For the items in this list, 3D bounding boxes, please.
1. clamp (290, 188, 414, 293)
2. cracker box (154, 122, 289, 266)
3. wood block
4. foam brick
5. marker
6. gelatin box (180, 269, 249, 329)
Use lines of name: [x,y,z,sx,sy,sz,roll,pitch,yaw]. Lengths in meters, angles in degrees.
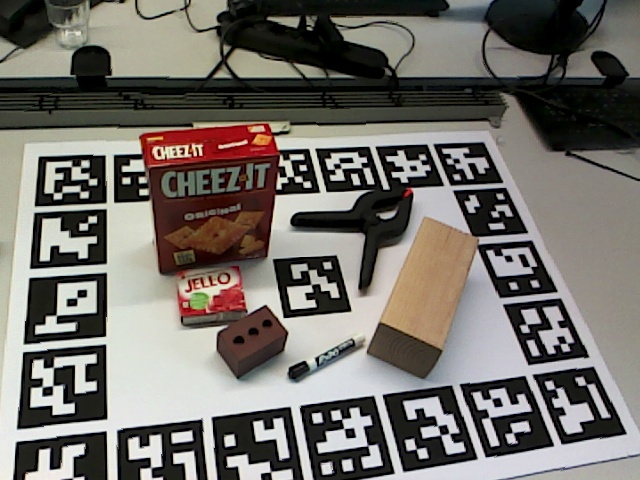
clamp: [0.078,-0.024,0.982,0.202,0.036,0.166,-33,67,-28]
cracker box: [-0.140,-0.058,0.852,0.163,0.213,0.072,-7,55,-17]
wood block: [0.148,0.081,0.889,0.090,0.091,0.206,23,51,9]
foam brick: [-0.091,0.138,0.825,0.078,0.051,0.053,-27,65,-26]
marker: [-0.001,0.164,0.840,0.120,0.019,0.020,-23,63,-24]
gelatin box: [-0.149,0.082,0.872,0.089,0.030,0.073,-5,57,-14]
